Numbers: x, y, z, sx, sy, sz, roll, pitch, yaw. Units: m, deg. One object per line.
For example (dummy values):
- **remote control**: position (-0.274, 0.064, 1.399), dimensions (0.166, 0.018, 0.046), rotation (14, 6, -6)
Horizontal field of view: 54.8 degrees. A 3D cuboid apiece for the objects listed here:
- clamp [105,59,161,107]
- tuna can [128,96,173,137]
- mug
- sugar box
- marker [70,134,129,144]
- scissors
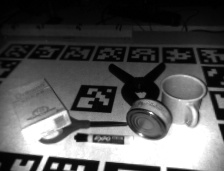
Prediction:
- **clamp**: position (0.067, -0.002, 0.572), dimensions (0.165, 0.037, 0.201), rotation (-4, 41, -1)
- **tuna can**: position (0.076, 0.065, 0.437), dimensions (0.085, 0.086, 0.034), rotation (13, 43, 20)
- **mug**: position (0.143, 0.037, 0.474), dimensions (0.094, 0.082, 0.116), rotation (-16, 38, -14)
- **sugar box**: position (-0.171, 0.049, 0.498), dimensions (0.093, 0.045, 0.174), rotation (-22, 38, -21)
- **marker**: position (-0.027, 0.109, 0.444), dimensions (0.121, 0.020, 0.019), rotation (-1, 41, 4)
- **scissors**: position (-0.067, 0.079, 0.479), dimensions (0.203, 0.016, 0.087), rotation (-4, 36, -3)
